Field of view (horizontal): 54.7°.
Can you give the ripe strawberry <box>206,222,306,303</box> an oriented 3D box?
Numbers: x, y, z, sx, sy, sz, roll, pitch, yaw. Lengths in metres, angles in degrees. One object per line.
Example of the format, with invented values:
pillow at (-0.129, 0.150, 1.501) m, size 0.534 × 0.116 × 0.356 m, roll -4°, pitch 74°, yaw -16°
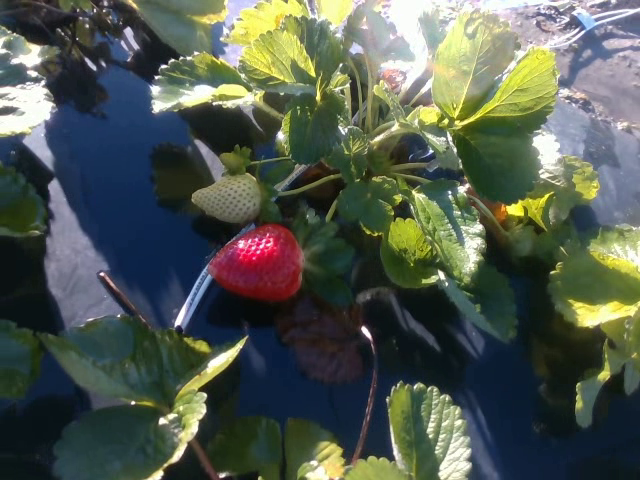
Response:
ripe strawberry at (-0.034, 0.014, 0.378) m, size 0.080 × 0.063 × 0.040 m, roll -6°, pitch -3°, yaw -37°
